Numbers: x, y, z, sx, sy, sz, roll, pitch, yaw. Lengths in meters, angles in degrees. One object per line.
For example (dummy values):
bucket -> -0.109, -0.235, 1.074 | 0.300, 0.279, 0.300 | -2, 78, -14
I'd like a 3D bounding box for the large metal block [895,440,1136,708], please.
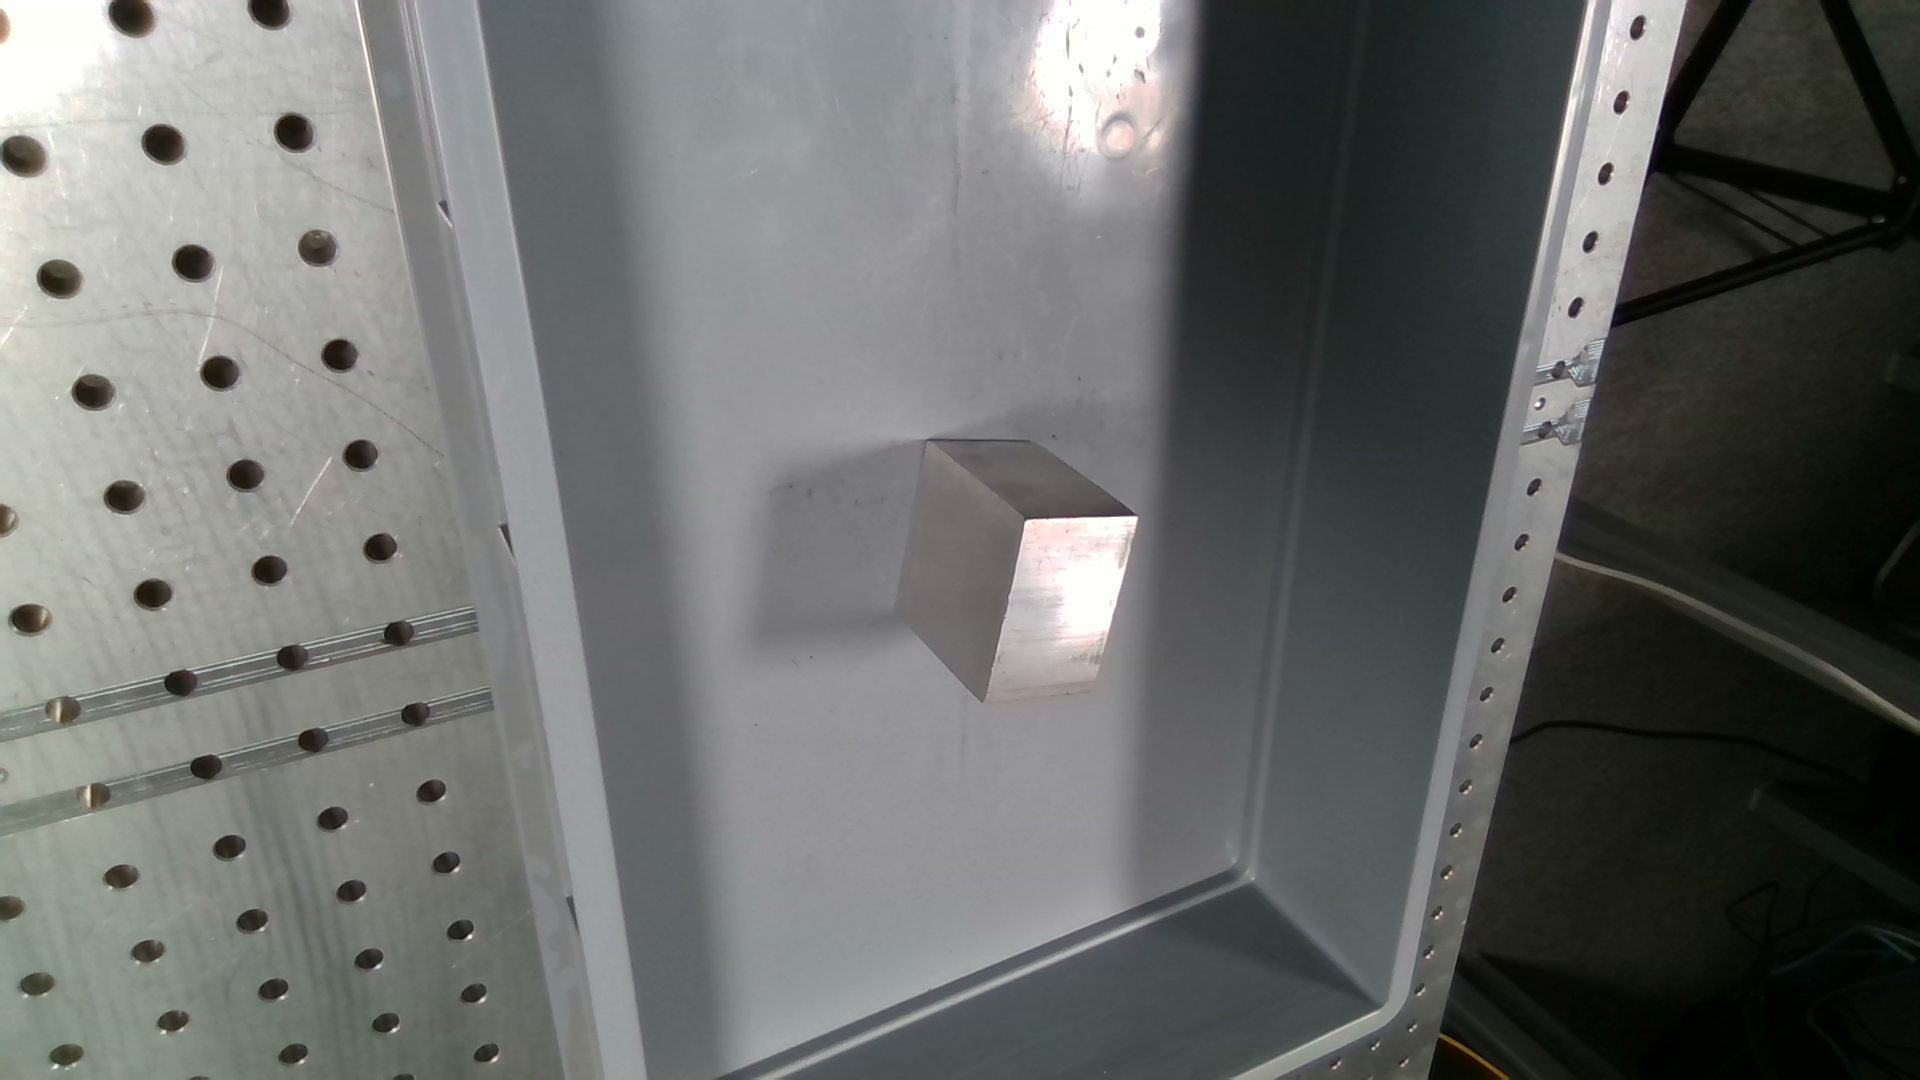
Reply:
large metal block -> 0.020, 0.011, 0.561 | 0.050, 0.080, 0.080 | -2, 116, -31
